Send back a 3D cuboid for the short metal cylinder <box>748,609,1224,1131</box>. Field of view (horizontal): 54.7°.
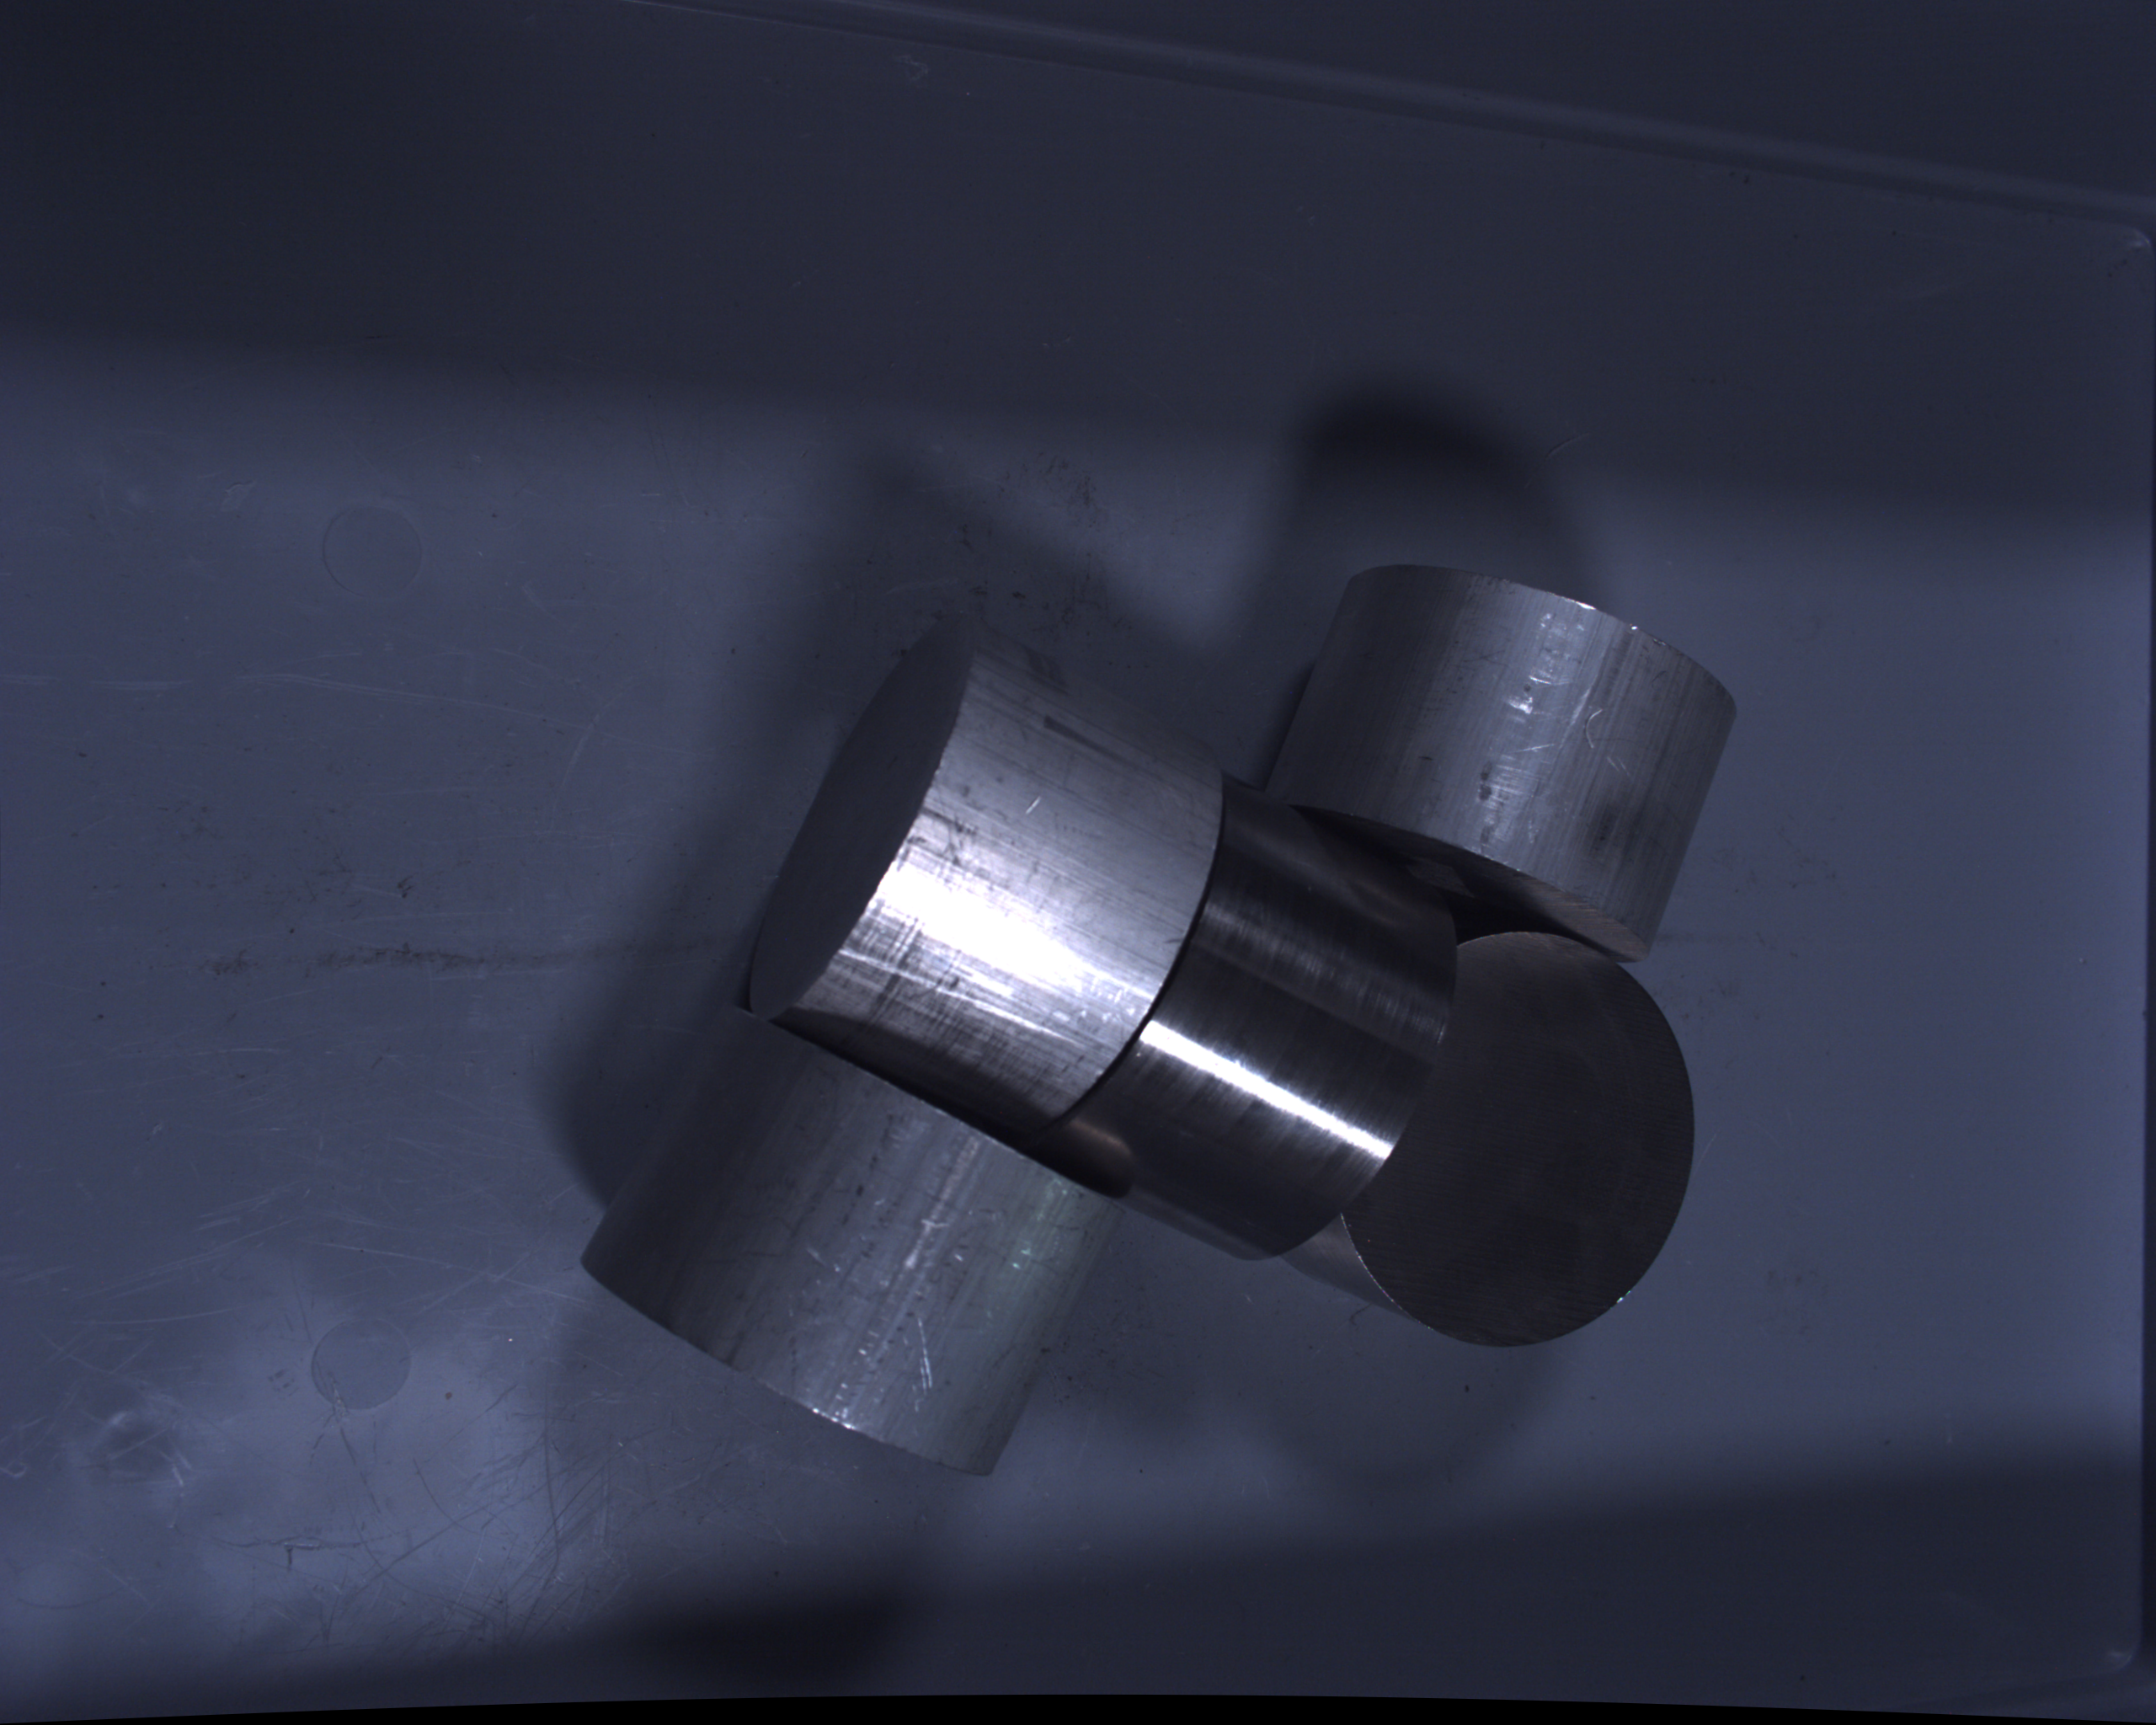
[{"bbox_3d":[-0.018,0.002,0.374,0.050,0.080,0.080,27,81,-18],"label":"short metal cylinder"}]

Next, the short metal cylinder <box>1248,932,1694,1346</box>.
[{"bbox_3d":[0.076,0.053,0.425,0.081,0.050,0.079,0,90,-21],"label":"short metal cylinder"}]

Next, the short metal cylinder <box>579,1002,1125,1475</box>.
[{"bbox_3d":[-0.039,0.065,0.366,0.080,0.080,0.050,31,80,-18],"label":"short metal cylinder"}]

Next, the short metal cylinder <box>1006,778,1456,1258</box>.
[{"bbox_3d":[0.025,0.027,0.391,0.050,0.080,0.080,28,81,-18],"label":"short metal cylinder"}]

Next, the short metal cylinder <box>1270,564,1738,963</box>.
[{"bbox_3d":[0.082,-0.018,0.411,0.080,0.080,0.050,24,82,-19],"label":"short metal cylinder"}]
